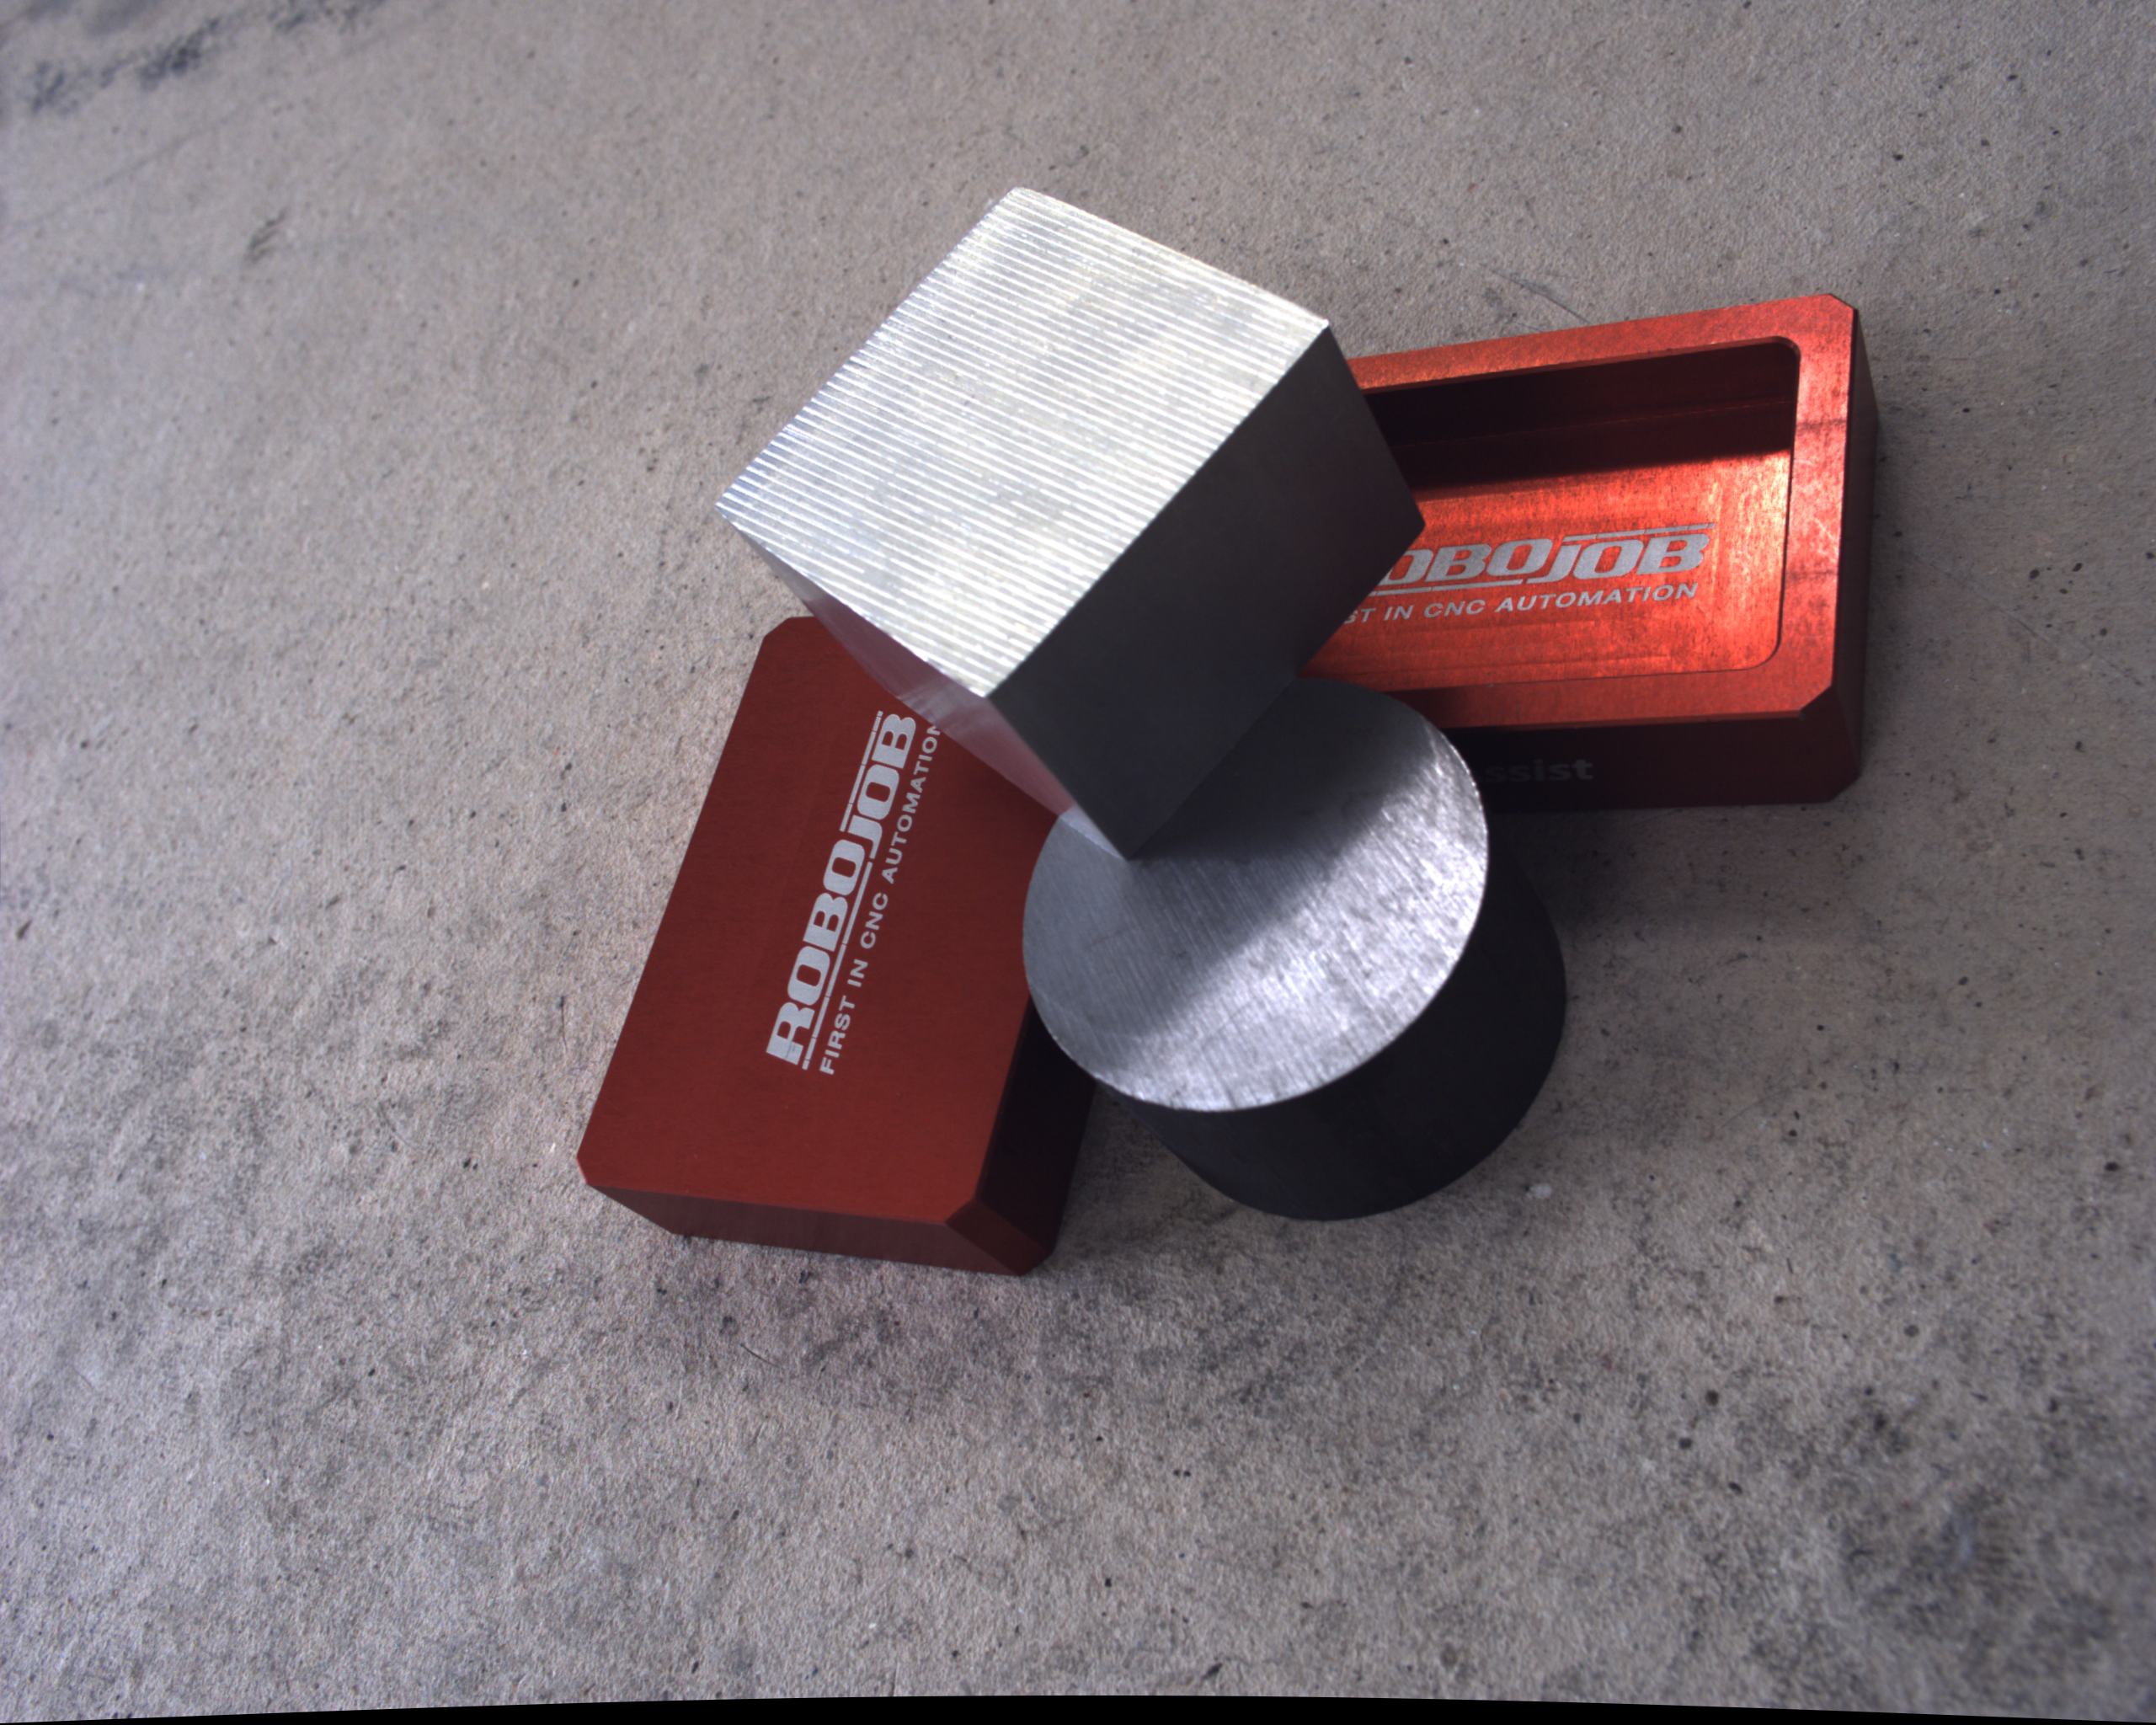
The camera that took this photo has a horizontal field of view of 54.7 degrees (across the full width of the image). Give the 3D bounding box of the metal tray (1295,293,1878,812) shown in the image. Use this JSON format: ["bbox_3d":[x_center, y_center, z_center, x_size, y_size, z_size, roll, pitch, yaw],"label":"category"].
[{"bbox_3d":[0.079,-0.055,0.394,0.130,0.030,0.090,-1,61,27],"label":"metal tray"}]

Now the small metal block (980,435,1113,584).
[{"bbox_3d":[-0.006,-0.061,0.430,0.050,0.050,0.025,1,62,28],"label":"small metal block"}]

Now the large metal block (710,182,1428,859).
[{"bbox_3d":[-0.002,-0.061,0.361,0.080,0.050,0.080,-48,51,-6],"label":"large metal block"}]

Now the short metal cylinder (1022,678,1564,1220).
[{"bbox_3d":[0.038,0.015,0.360,0.080,0.050,0.080,-13,56,21],"label":"short metal cylinder"}]

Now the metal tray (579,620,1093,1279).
[{"bbox_3d":[-0.036,0.012,0.415,0.090,0.030,0.130,1,62,28],"label":"metal tray"}]
